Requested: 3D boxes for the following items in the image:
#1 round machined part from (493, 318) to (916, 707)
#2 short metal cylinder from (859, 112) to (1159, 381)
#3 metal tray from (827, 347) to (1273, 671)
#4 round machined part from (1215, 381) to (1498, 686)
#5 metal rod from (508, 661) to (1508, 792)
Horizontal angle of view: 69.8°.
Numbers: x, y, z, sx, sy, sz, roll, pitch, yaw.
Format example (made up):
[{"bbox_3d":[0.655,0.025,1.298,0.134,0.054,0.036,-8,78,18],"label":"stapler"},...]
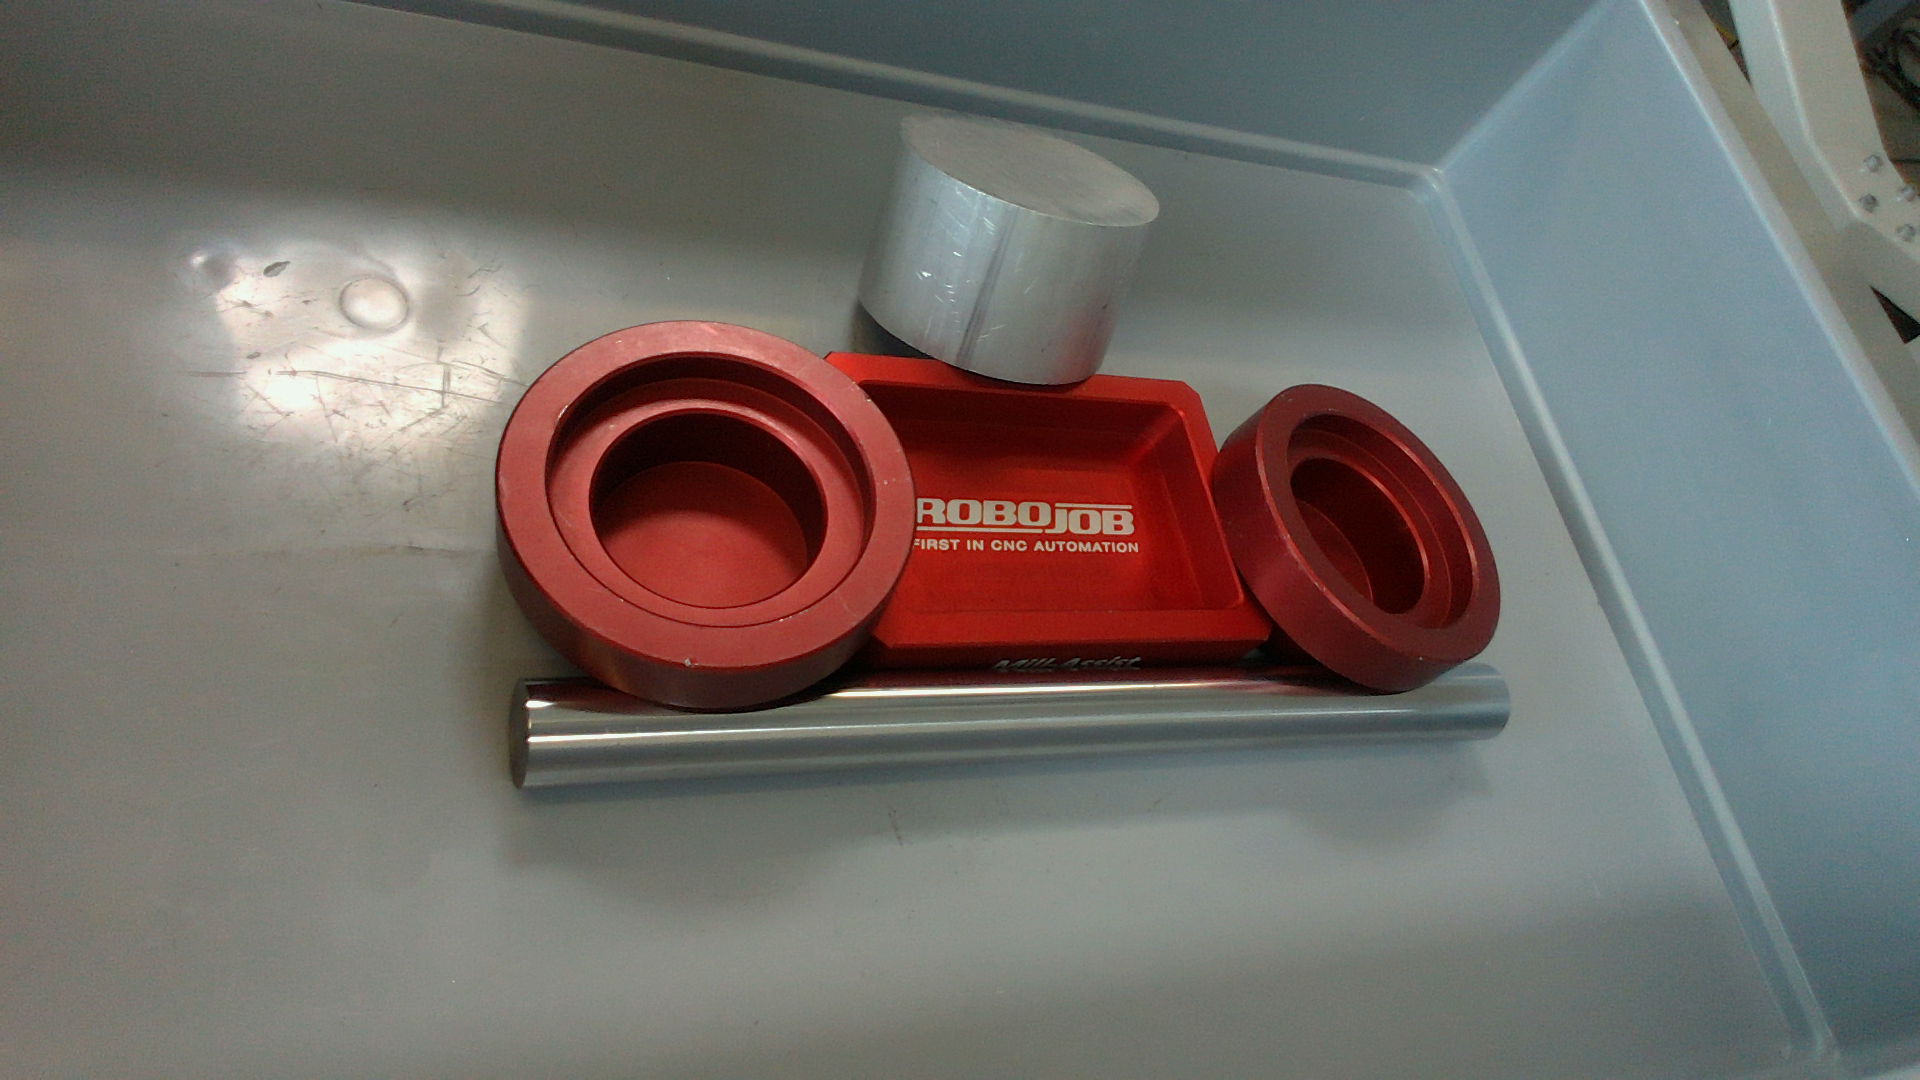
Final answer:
[{"bbox_3d":[-0.063,-0.003,0.339,0.098,0.042,0.098,9,57,-13],"label":"round machined part"},{"bbox_3d":[0.014,-0.090,0.415,0.080,0.050,0.080,14,31,-8],"label":"short metal cylinder"},{"bbox_3d":[0.021,-0.006,0.399,0.130,0.030,0.090,1,62,-28],"label":"metal tray"},{"bbox_3d":[0.118,0.002,0.433,0.098,0.042,0.098,20,50,-25],"label":"round machined part"},{"bbox_3d":[0.034,0.048,0.377,0.301,0.025,0.025,2,61,-27],"label":"metal rod"}]
